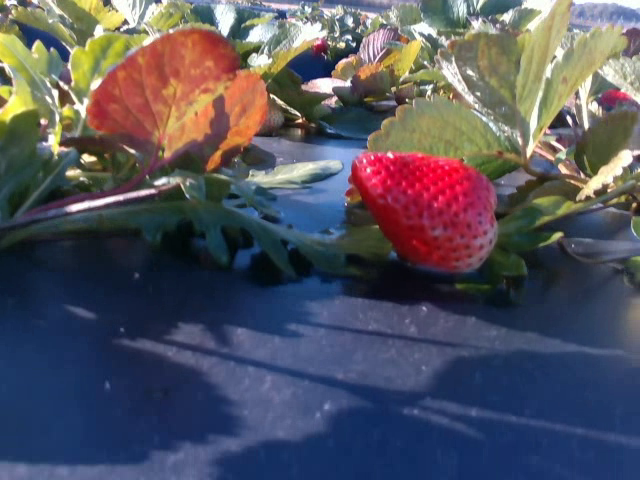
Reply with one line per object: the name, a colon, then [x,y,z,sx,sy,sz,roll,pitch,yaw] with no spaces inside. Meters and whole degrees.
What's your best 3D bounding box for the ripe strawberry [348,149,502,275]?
ripe strawberry: [0.028,-0.010,0.175,0.053,0.044,0.036,25,-37,-13]
